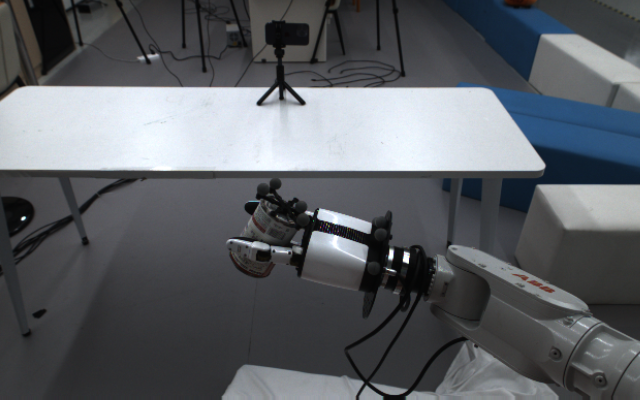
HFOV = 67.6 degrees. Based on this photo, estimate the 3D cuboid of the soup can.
[{"bbox_3d":[-0.077,0.054,0.695,0.067,0.101,0.067,28,22,-12],"label":"soup can"}]
